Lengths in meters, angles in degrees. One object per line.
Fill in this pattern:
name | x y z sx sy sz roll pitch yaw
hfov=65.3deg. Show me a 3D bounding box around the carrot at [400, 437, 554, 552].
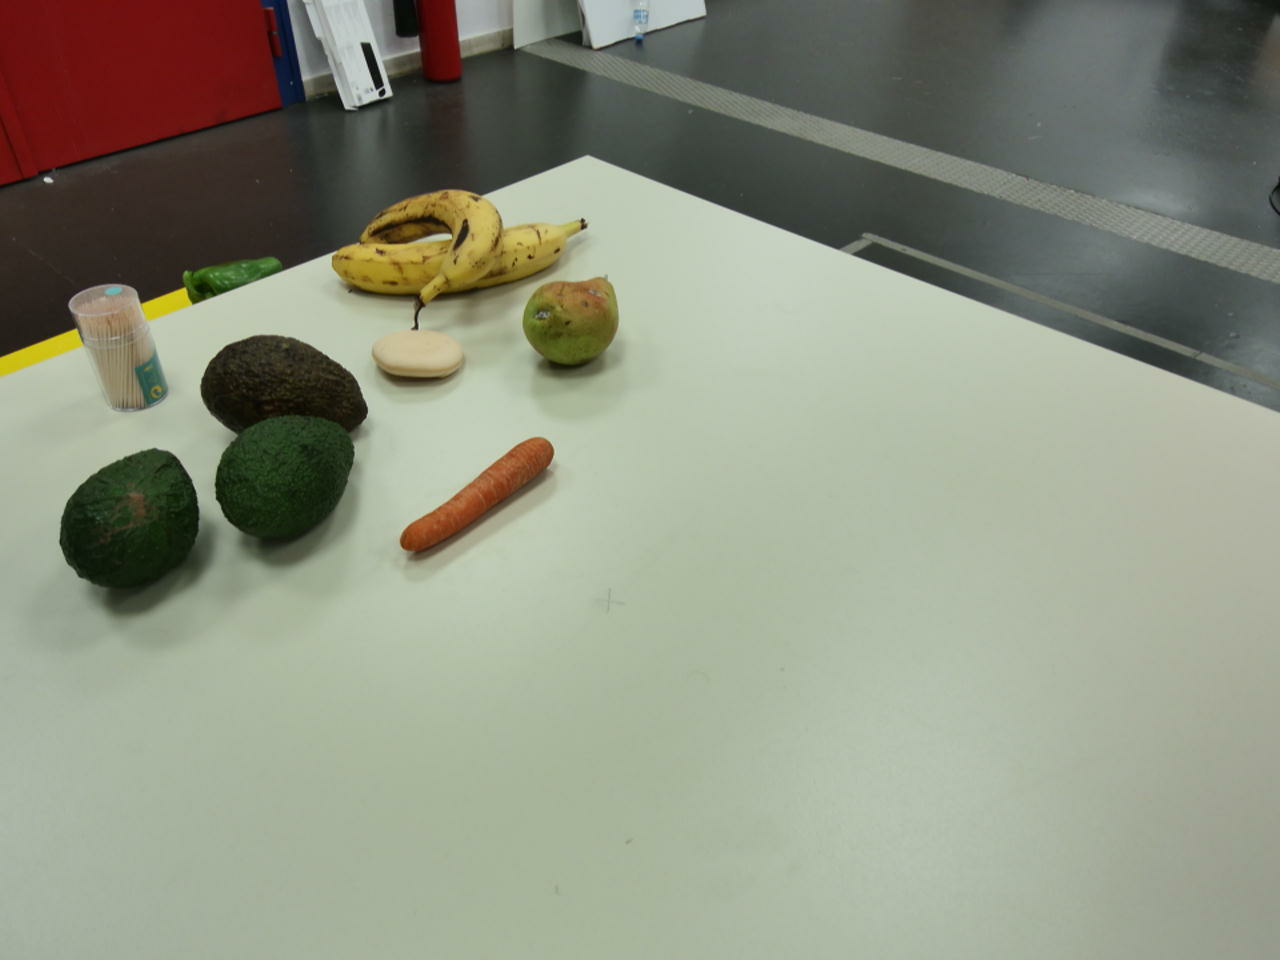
carrot | -0.096 0.007 0.599 0.024 0.023 0.122 27 44 29
